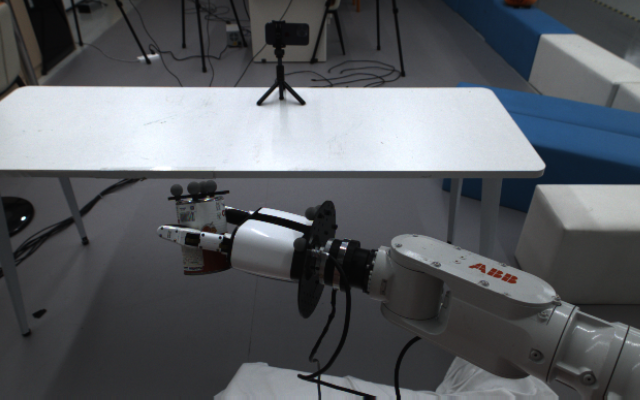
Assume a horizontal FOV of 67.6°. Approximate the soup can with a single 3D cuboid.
[{"bbox_3d":[-0.161,0.050,0.677,0.067,0.101,0.067,-7,3,0],"label":"soup can"}]
